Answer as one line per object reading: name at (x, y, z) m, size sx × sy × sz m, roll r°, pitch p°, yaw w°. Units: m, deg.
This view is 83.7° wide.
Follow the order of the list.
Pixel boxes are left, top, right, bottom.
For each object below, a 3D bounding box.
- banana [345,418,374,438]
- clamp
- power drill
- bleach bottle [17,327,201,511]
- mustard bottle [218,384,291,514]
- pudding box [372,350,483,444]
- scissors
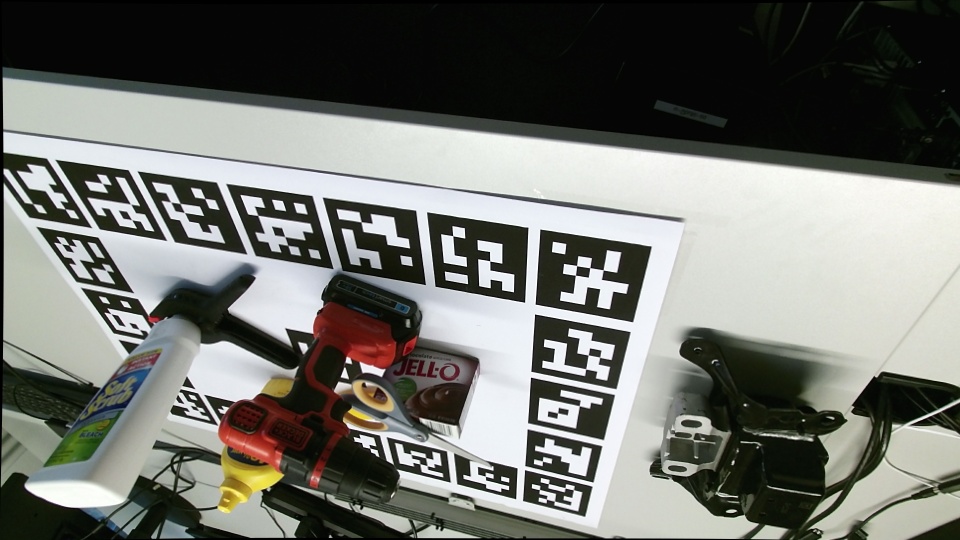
banana at (-0.182, 0.237, 0.795) m, size 0.198 × 0.038 × 0.074 m, roll -27°, pitch 133°, yaw 35°
clamp at (-0.365, 0.087, 0.717) m, size 0.203 × 0.036 × 0.165 m, roll 4°, pitch 128°, yaw 18°
power drill at (-0.141, 0.129, 0.555) m, size 0.185 × 0.186 × 0.057 m, roll 17°, pitch 139°, yaw 1°
bleach bottle at (-0.425, 0.159, 0.658) m, size 0.103 × 0.249 × 0.068 m, roll -11°, pitch 129°, yaw 18°
mustard bottle at (-0.304, 0.252, 0.761) m, size 0.096 × 0.191 × 0.058 m, roll 20°, pitch 133°, yaw 4°
pudding box at (-0.062, 0.154, 0.653) m, size 0.114 × 0.089 × 0.039 m, roll 12°, pitch 139°, yaw 10°
scissors at (-0.069, 0.201, 0.609) m, size 0.203 × 0.016 × 0.088 m, roll 30°, pitch 129°, yaw -1°
